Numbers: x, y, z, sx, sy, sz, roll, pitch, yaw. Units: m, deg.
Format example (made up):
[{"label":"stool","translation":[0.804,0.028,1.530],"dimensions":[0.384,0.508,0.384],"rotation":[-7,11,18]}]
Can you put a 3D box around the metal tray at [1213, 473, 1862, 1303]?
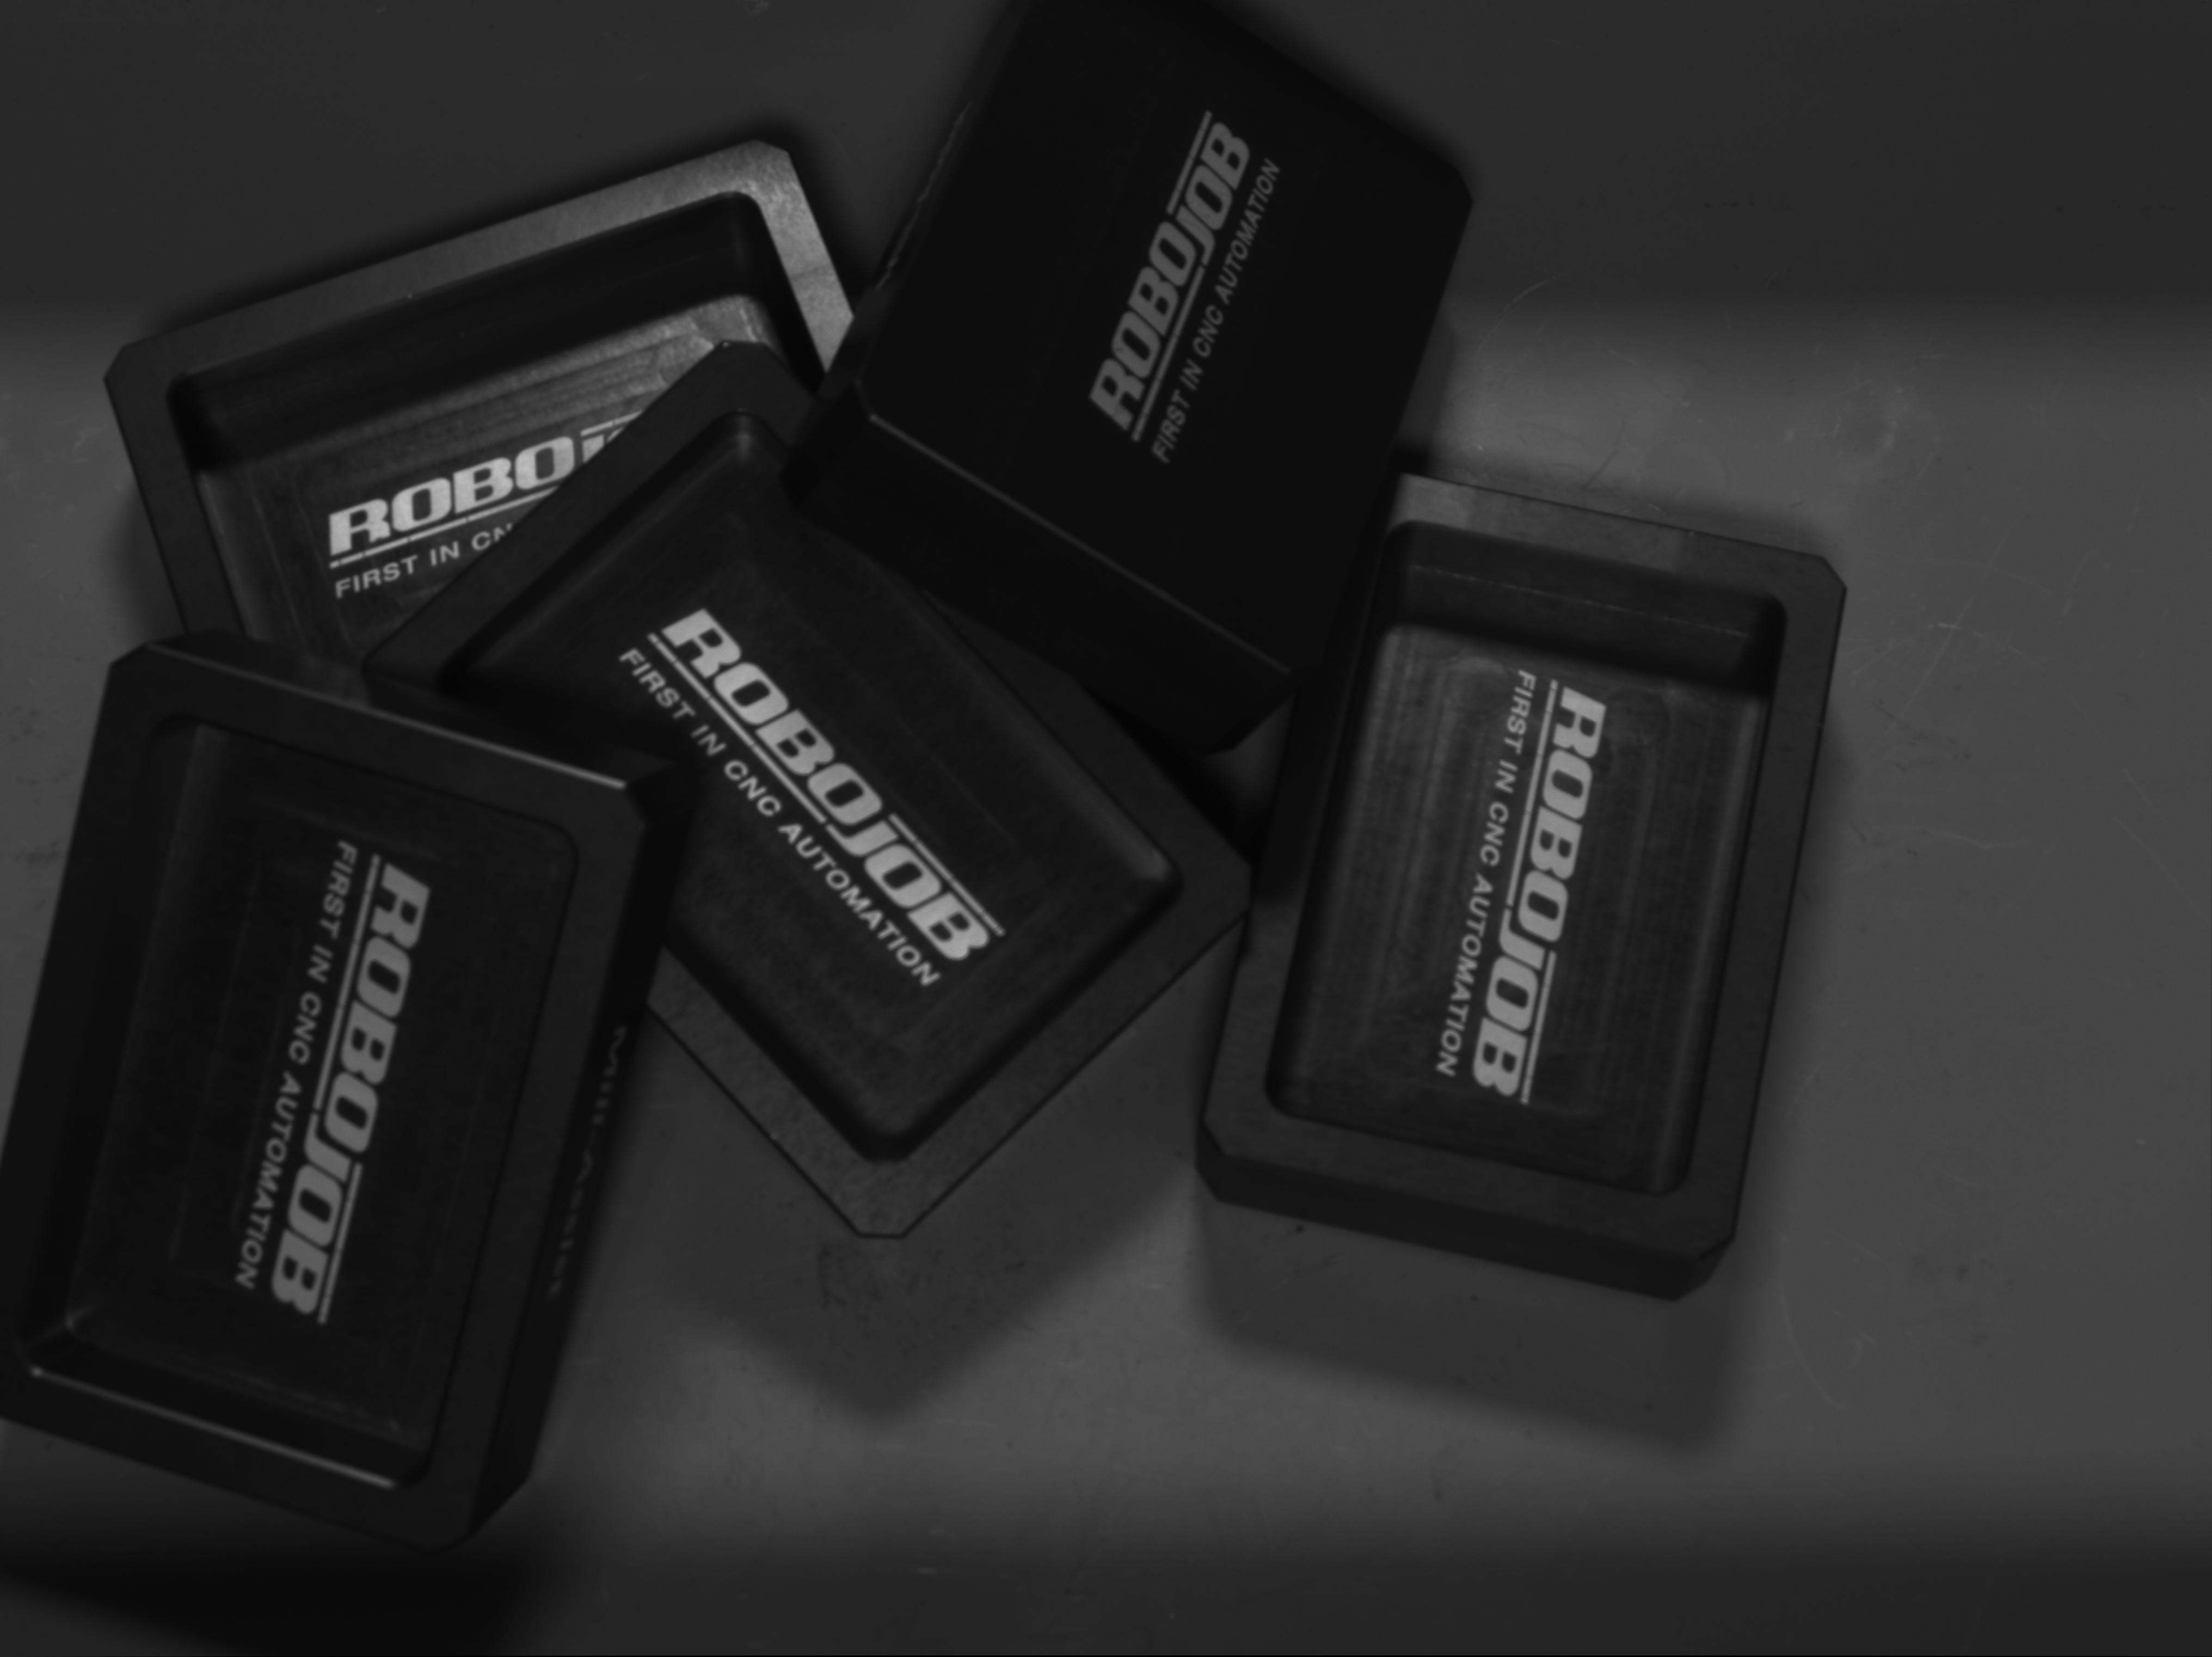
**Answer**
[{"label":"metal tray","translation":[0.075,0.009,0.638],"dimensions":[0.090,0.030,0.130],"rotation":[12,70,4]}]

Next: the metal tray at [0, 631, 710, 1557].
[{"label":"metal tray","translation":[-0.125,0.042,0.594],"dimensions":[0.090,0.030,0.130],"rotation":[16,99,6]}]

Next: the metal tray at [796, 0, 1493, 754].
[{"label":"metal tray","translation":[0.010,-0.087,0.636],"dimensions":[0.090,0.030,0.130],"rotation":[31,51,-13]}]

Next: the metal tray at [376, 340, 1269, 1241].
[{"label":"metal tray","translation":[-0.048,-0.006,0.620],"dimensions":[0.090,0.030,0.130],"rotation":[-43,90,-7]}]

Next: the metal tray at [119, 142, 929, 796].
[{"label":"metal tray","translation":[-0.102,-0.062,0.663],"dimensions":[0.130,0.030,0.090],"rotation":[-19,71,-7]}]
